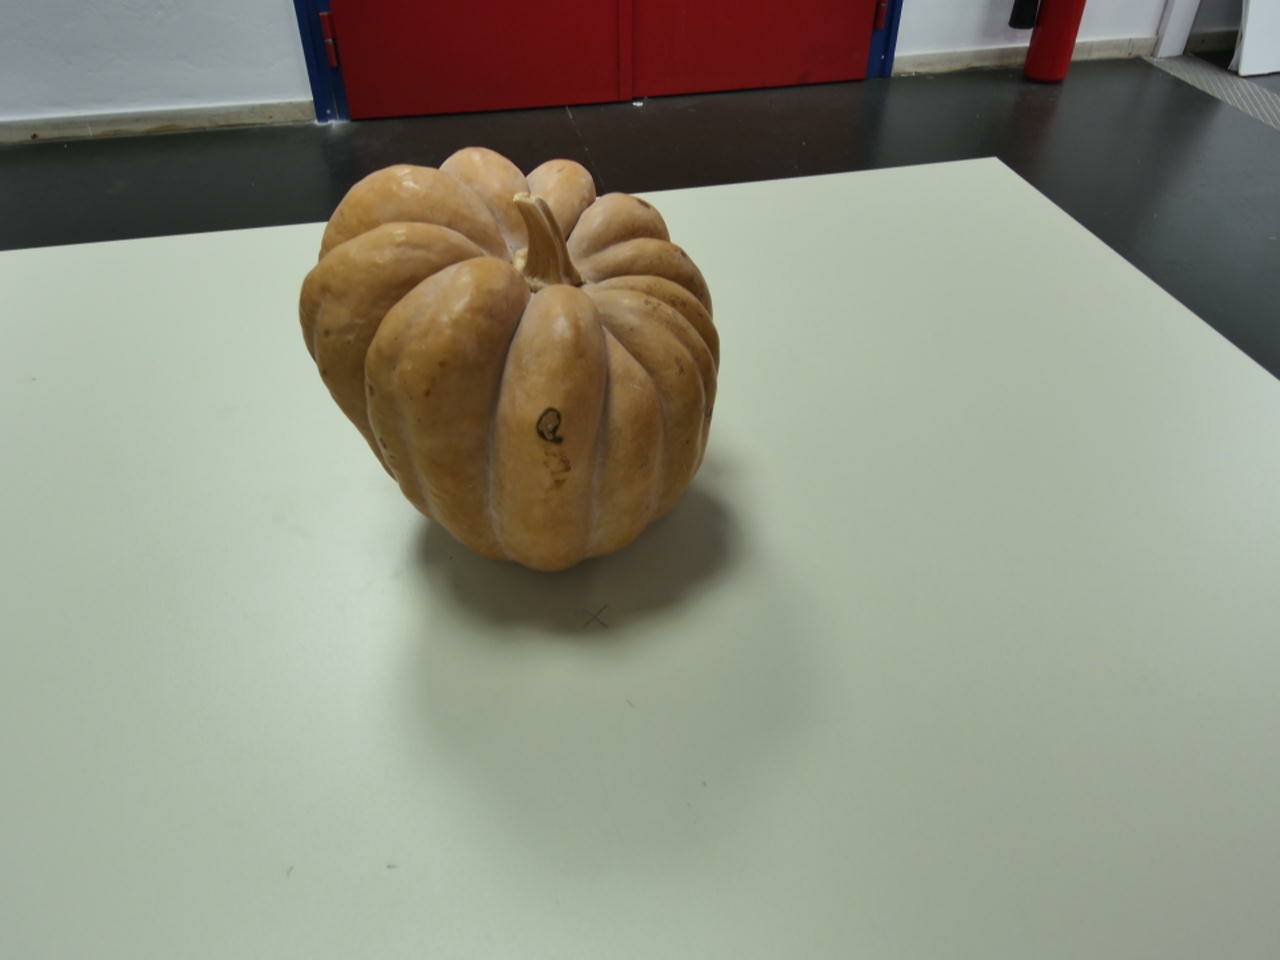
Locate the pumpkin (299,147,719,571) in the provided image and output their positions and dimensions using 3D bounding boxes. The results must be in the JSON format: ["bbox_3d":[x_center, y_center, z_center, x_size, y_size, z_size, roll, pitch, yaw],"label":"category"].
[{"bbox_3d":[-0.055,-0.055,0.471,0.199,0.177,0.198,0,39,0],"label":"pumpkin"}]
